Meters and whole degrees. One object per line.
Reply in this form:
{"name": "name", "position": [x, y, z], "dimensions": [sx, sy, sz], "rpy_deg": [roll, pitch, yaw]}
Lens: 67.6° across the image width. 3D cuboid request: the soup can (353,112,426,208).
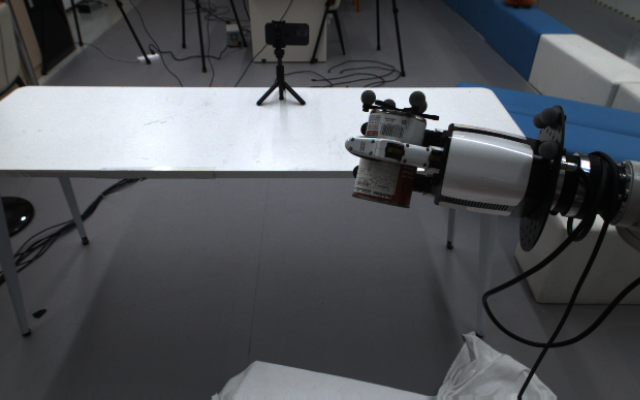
{"name": "soup can", "position": [0.080, -0.049, 0.559], "dimensions": [0.067, 0.101, 0.067], "rpy_deg": [12, 2, 0]}
